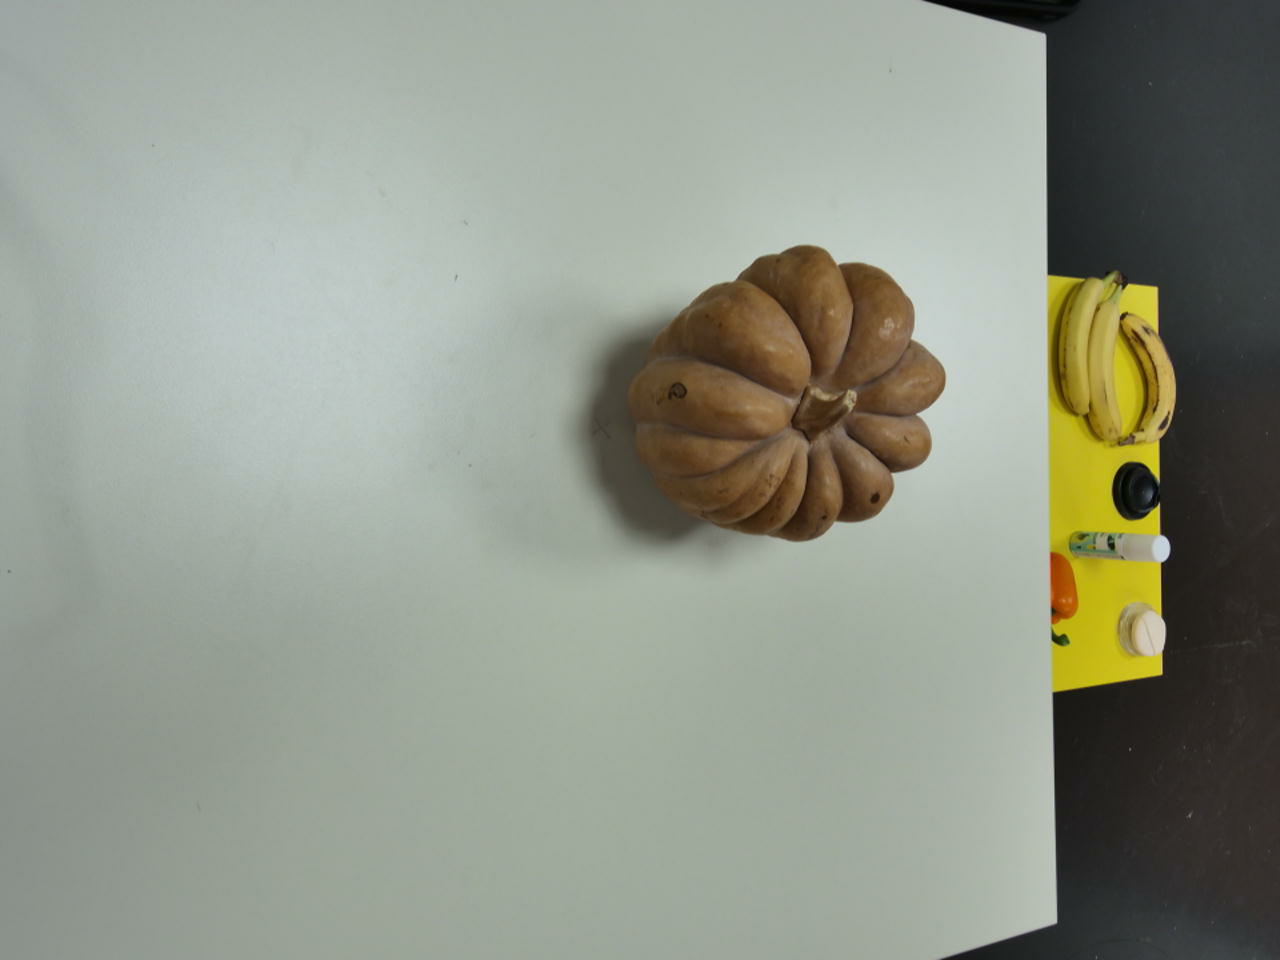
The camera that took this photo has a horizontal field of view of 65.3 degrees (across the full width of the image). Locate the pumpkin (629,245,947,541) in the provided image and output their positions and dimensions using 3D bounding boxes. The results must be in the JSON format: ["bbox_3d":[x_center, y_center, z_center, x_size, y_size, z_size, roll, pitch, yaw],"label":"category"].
[{"bbox_3d":[0.091,-0.054,0.666,0.198,0.177,0.198,0,91,-28],"label":"pumpkin"}]
